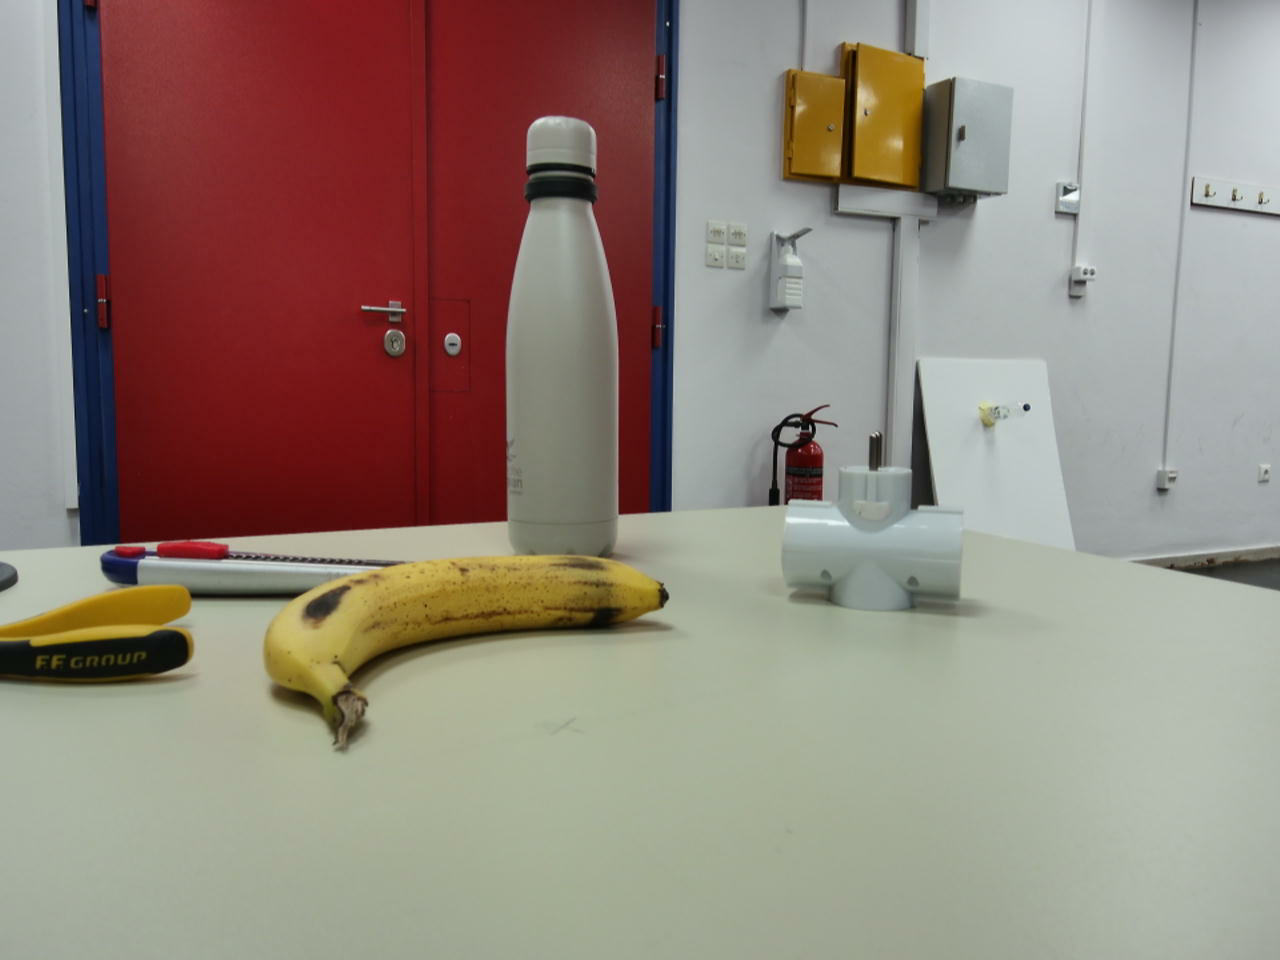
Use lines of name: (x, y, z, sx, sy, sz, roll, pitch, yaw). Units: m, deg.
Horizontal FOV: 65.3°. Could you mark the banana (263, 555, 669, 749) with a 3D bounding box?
banana: (-0.077, 0.057, 0.420, 0.097, 0.038, 0.186, 3, 5, 36)
